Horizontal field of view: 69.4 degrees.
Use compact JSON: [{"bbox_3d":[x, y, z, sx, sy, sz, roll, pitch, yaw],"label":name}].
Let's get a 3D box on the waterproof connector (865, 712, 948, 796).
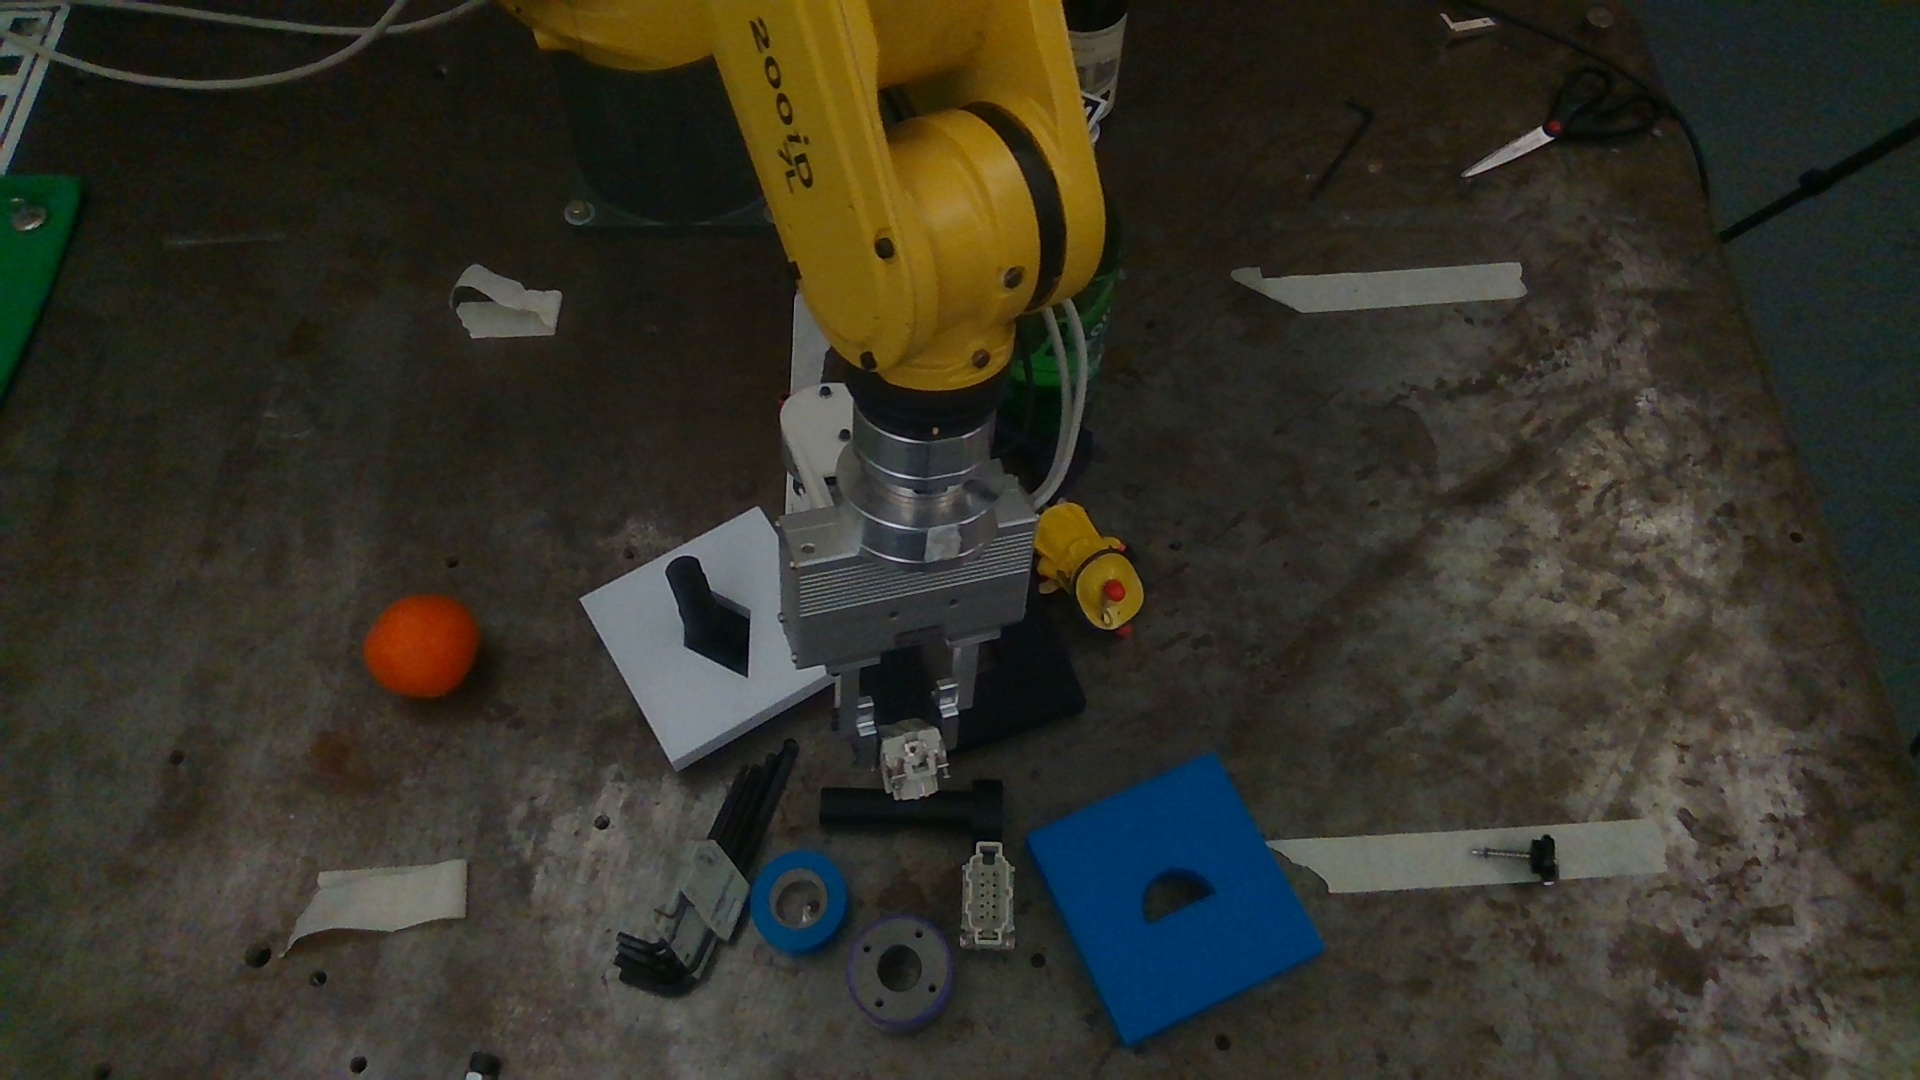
[{"bbox_3d":[-0.031,0.124,0.802,0.036,0.069,0.038,-14,93,-14],"label":"waterproof connector"}]
